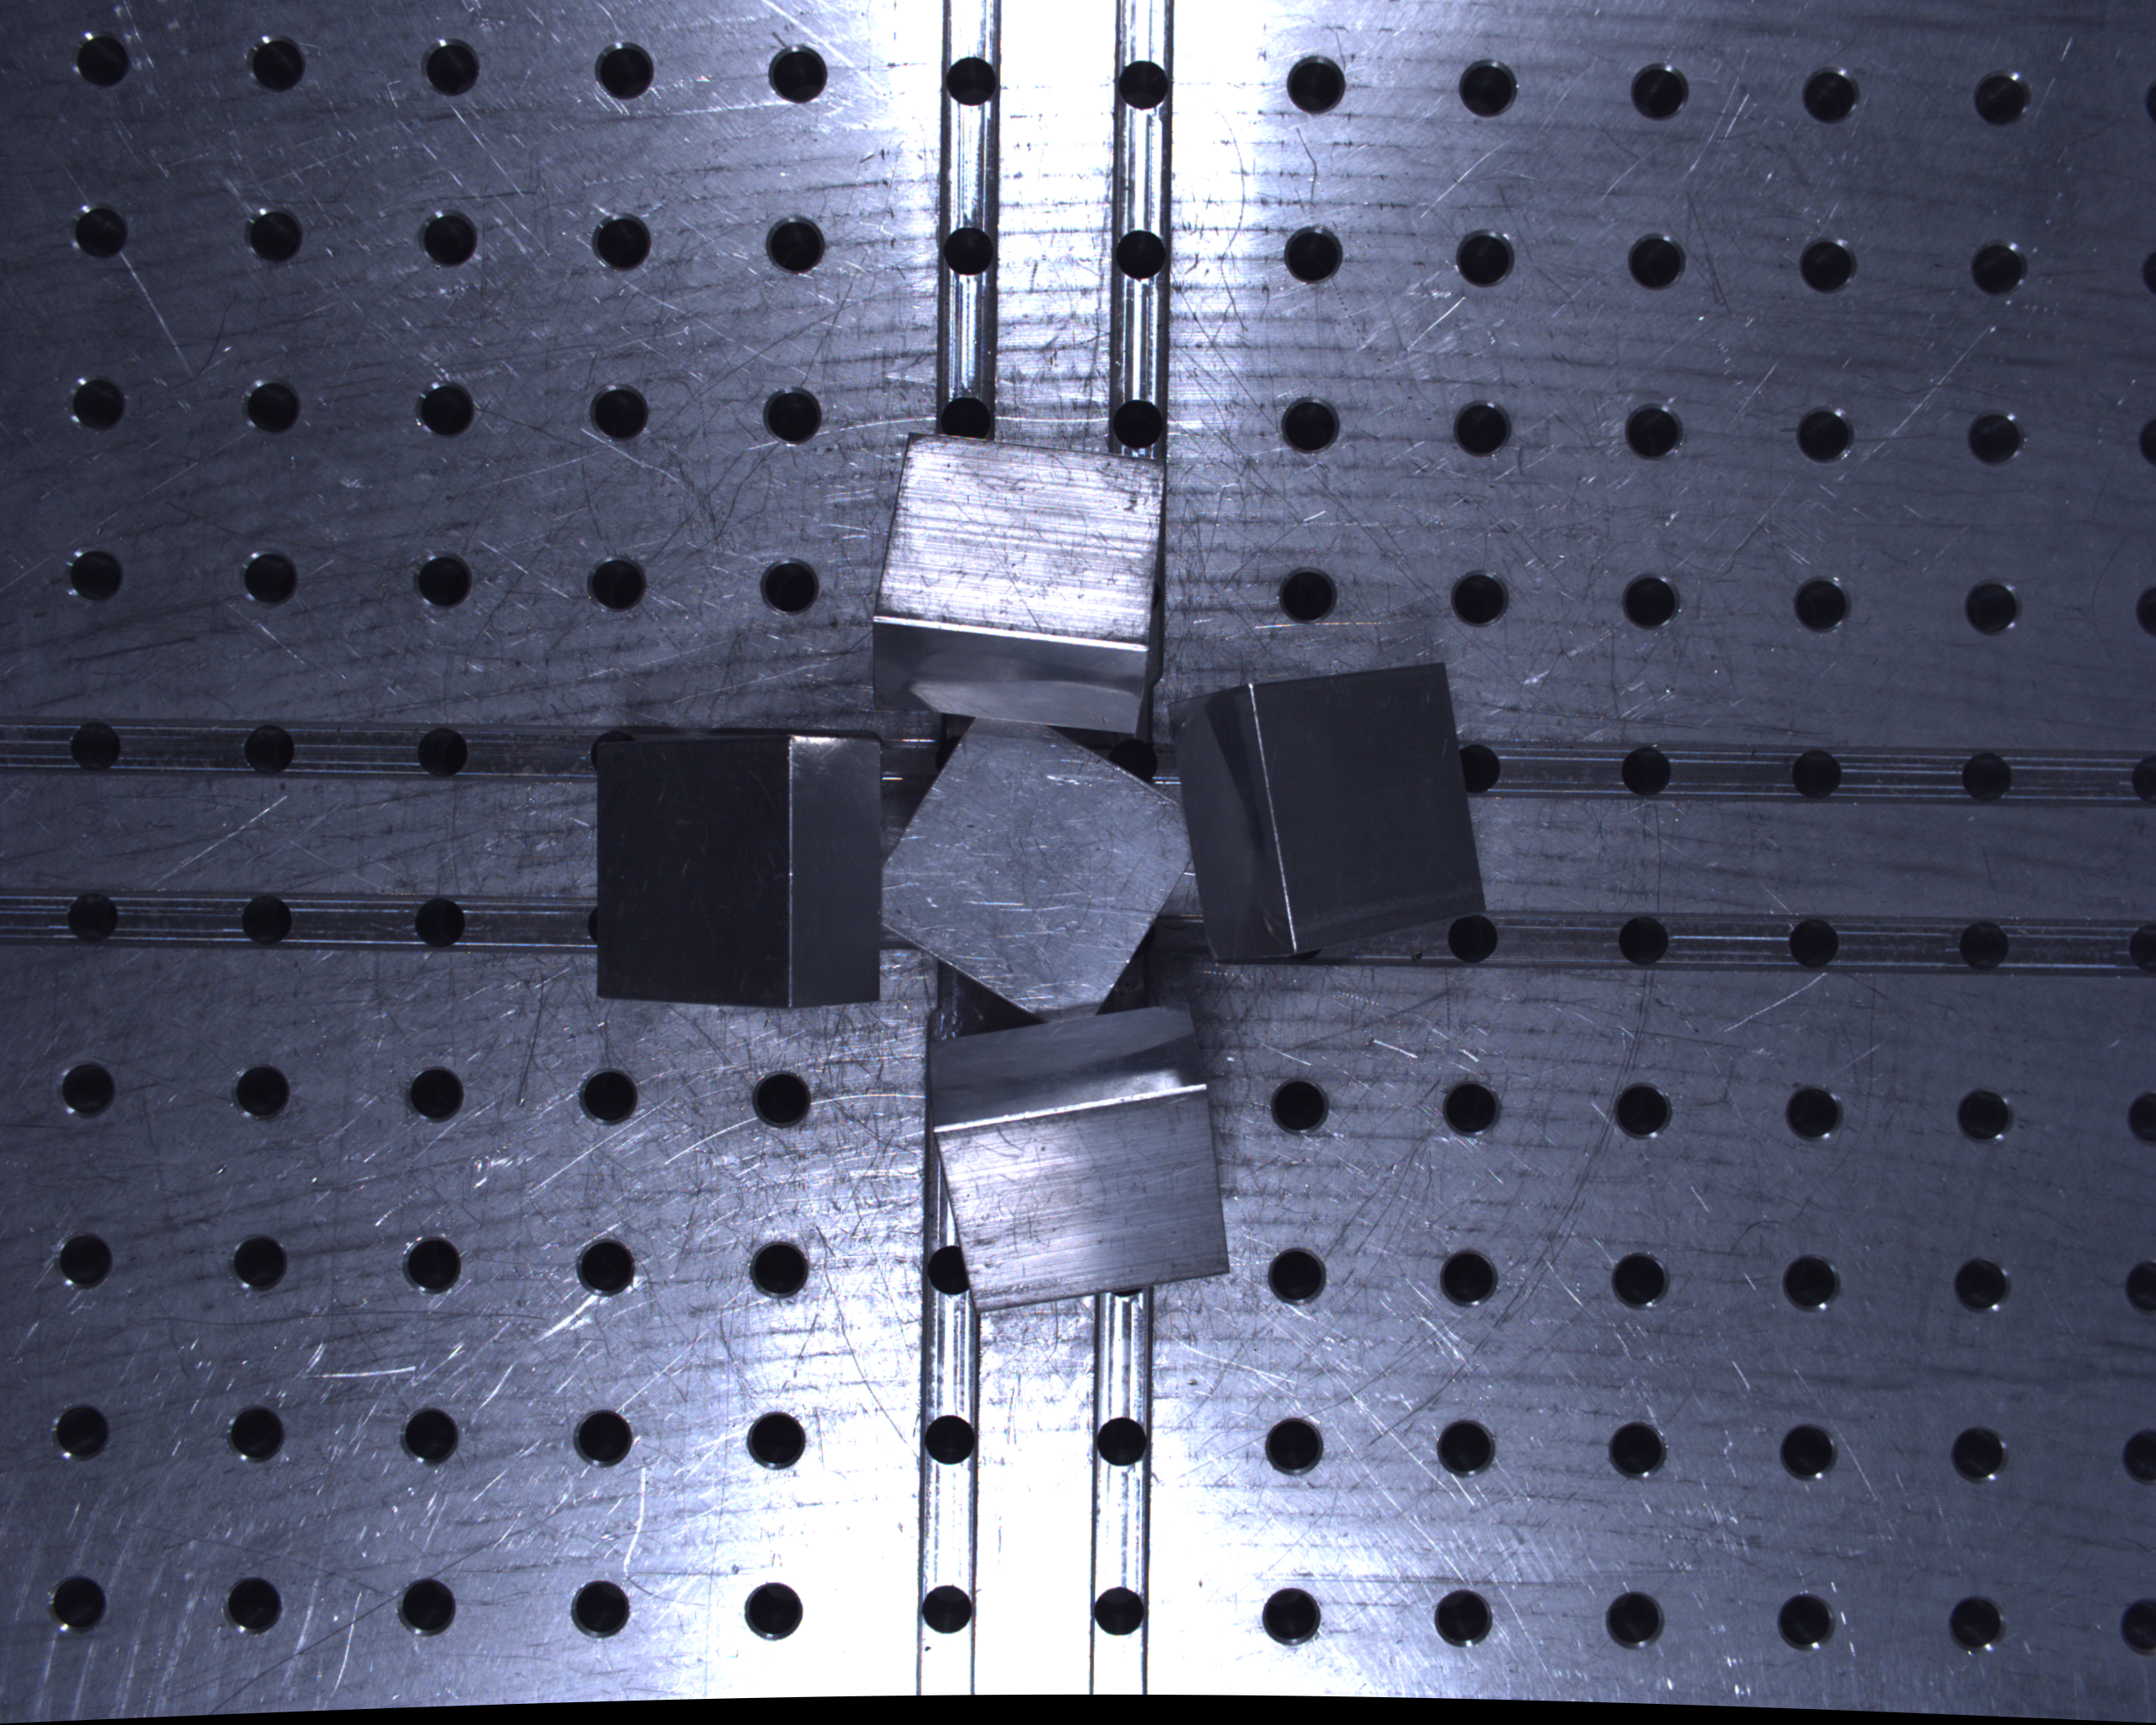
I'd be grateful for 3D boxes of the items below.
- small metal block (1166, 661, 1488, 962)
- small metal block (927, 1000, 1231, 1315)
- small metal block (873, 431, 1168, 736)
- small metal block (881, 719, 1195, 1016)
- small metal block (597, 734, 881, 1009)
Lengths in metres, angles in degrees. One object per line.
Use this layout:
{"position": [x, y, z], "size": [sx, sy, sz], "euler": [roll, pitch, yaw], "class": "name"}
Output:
{"position": [0.048, -0.010, 0.402], "size": [0.050, 0.025, 0.050], "euler": [-10, 90, -35], "class": "small metal block"}
{"position": [0.001, 0.057, 0.401], "size": [0.050, 0.025, 0.050], "euler": [-9, 126, 0], "class": "small metal block"}
{"position": [-0.011, -0.054, 0.401], "size": [0.050, 0.025, 0.050], "euler": [6, 54, 0], "class": "small metal block"}
{"position": [-0.008, 0.001, 0.413], "size": [0.050, 0.025, 0.050], "euler": [31, 90, -1], "class": "small metal block"}
{"position": [-0.065, 0.002, 0.401], "size": [0.050, 0.025, 0.050], "euler": [0, 90, 34], "class": "small metal block"}
